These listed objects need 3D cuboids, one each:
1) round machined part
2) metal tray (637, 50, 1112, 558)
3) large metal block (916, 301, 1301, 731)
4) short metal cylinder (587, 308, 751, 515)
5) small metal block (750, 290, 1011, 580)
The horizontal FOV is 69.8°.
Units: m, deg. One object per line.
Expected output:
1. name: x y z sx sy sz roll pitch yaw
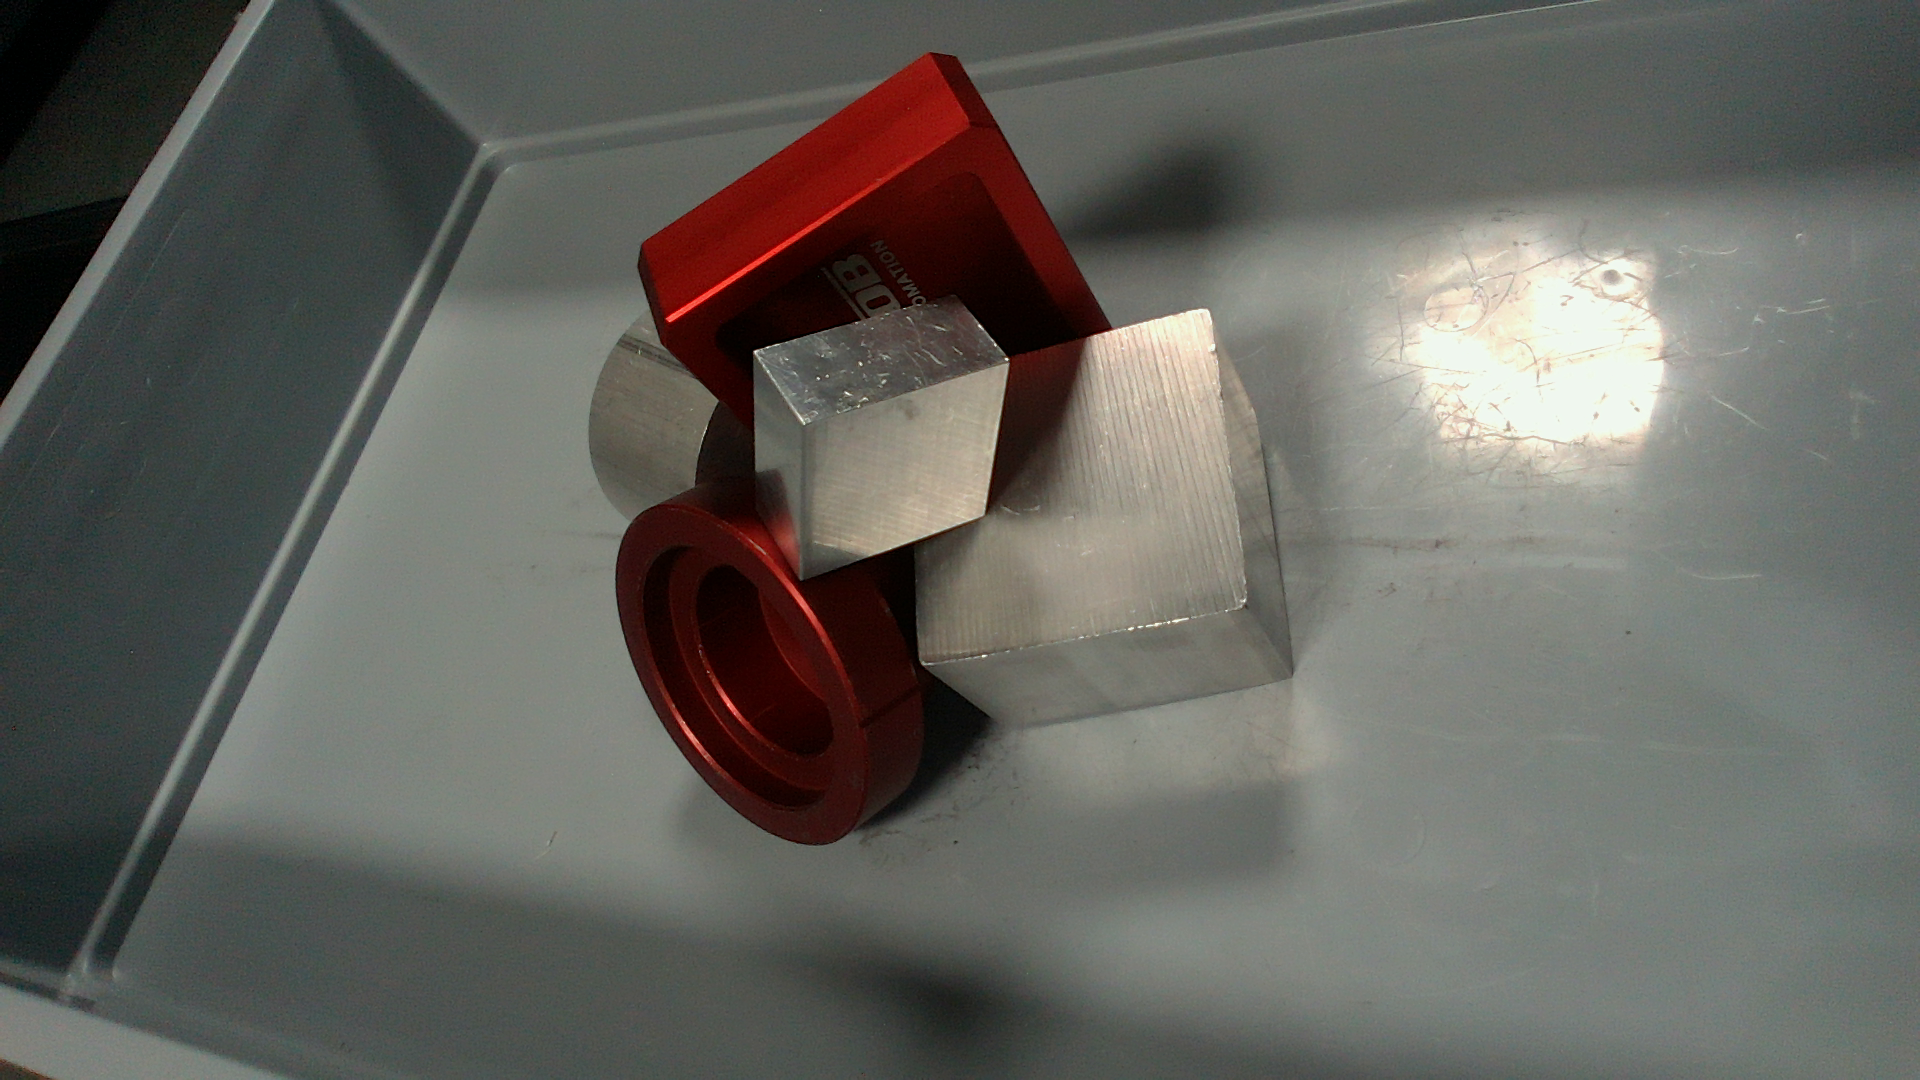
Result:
1. round machined part: -0.045 0.027 0.365 0.098 0.098 0.042 22 38 36
2. metal tray: -0.009 -0.051 0.360 0.090 0.130 0.030 -31 52 8
3. large metal block: 0.036 -0.004 0.349 0.080 0.050 0.080 -14 60 21
4. short metal cylinder: -0.062 -0.032 0.410 0.050 0.080 0.080 25 75 37
5. small metal block: -0.019 -0.024 0.313 0.050 0.050 0.025 -20 54 -24
